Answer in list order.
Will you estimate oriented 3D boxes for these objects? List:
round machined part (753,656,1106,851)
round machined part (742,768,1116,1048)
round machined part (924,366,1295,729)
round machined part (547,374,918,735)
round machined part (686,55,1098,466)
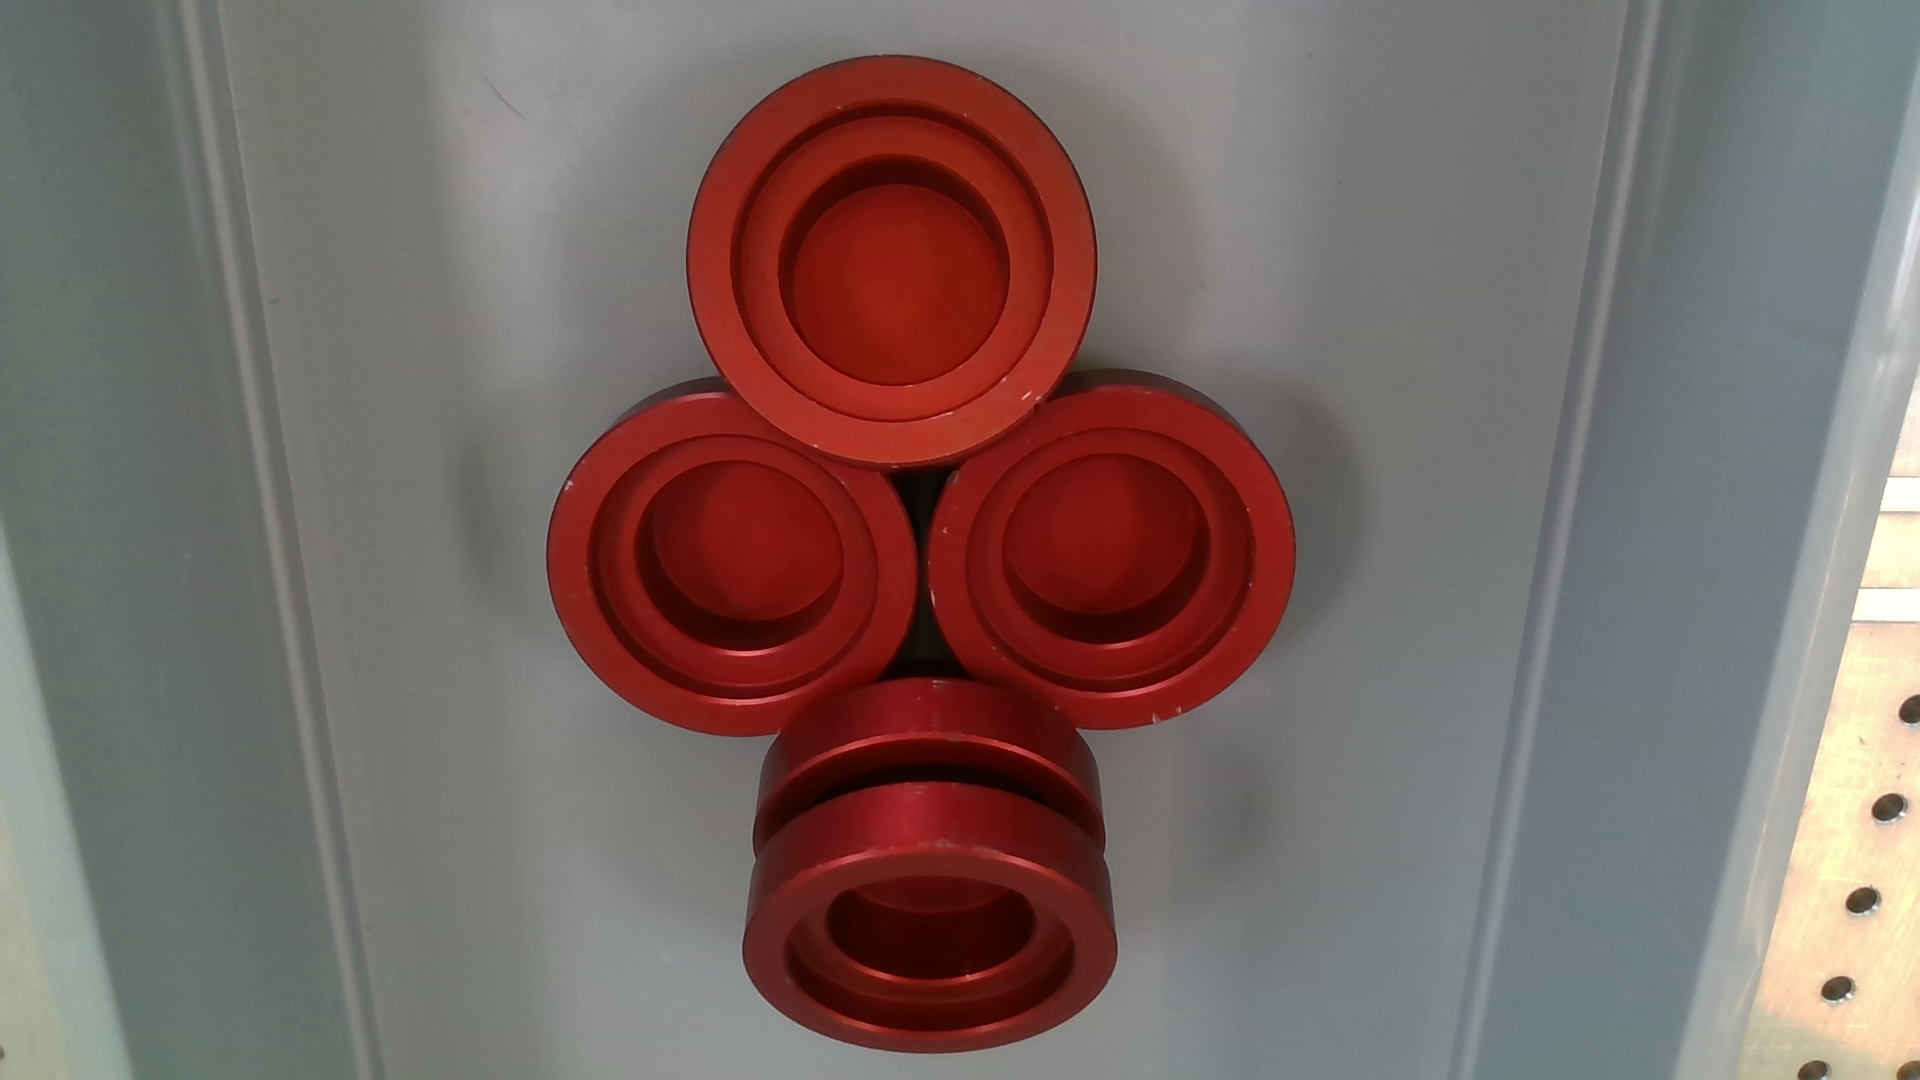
[{"bbox_3d":[-0.009,0.072,0.398,0.098,0.042,0.098,-1,132,-1],"label":"round machined part"},{"bbox_3d":[-0.008,0.096,0.377,0.098,0.042,0.098,0,132,0],"label":"round machined part"},{"bbox_3d":[0.040,-0.001,0.382,0.098,0.042,0.098,0,110,0],"label":"round machined part"},{"bbox_3d":[-0.060,0.001,0.383,0.098,0.042,0.098,0,110,0],"label":"round machined part"},{"bbox_3d":[-0.016,-0.066,0.348,0.098,0.042,0.098,0,89,0],"label":"round machined part"}]
